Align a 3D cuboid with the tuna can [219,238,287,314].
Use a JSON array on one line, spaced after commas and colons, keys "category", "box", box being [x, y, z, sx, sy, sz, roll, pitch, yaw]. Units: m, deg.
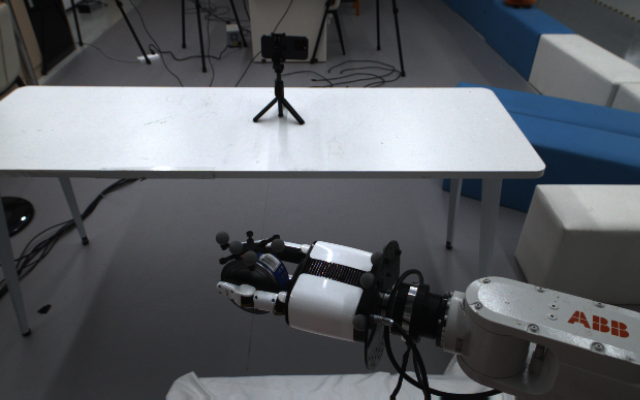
[{"category": "tuna can", "box": [-0.083, 0.104, 0.635, 0.085, 0.085, 0.034, 14, 29, 16]}]
